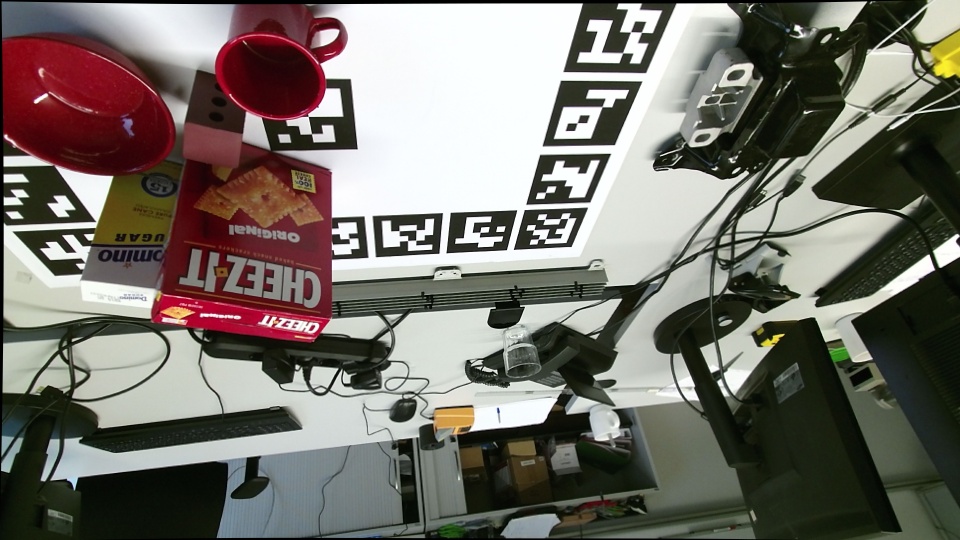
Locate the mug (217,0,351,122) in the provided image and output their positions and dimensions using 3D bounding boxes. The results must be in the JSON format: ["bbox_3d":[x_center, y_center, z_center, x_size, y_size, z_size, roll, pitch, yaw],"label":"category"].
[{"bbox_3d":[-0.178,-0.201,0.495,0.117,0.081,0.093,-10,154,-4],"label":"mug"}]

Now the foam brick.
[{"bbox_3d":[-0.271,-0.150,0.562,0.053,0.077,0.051,5,143,-23],"label":"foam brick"}]

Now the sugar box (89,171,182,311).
[{"bbox_3d":[-0.368,-0.033,0.607,0.093,0.175,0.045,9,141,-28],"label":"sugar box"}]

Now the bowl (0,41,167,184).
[{"bbox_3d":[-0.388,-0.157,0.512,0.162,0.055,0.162,-8,145,-5],"label":"bowl"}]

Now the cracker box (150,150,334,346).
[{"bbox_3d":[-0.255,-0.035,0.606,0.165,0.212,0.072,16,139,-33],"label":"cracker box"}]
